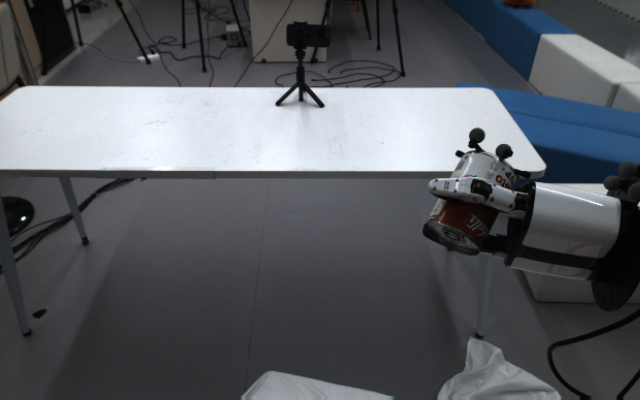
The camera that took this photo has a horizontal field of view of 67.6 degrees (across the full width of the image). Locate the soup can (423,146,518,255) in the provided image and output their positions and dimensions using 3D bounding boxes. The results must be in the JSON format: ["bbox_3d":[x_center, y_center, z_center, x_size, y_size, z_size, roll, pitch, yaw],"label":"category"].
[{"bbox_3d":[0.174,0.003,0.552,0.067,0.067,0.101,23,73,28],"label":"soup can"}]
